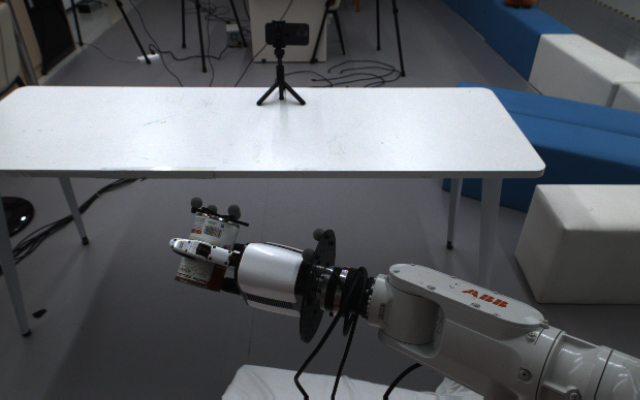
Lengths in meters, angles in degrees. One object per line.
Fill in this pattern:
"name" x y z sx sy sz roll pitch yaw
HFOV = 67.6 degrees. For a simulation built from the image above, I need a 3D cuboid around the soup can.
"soup can" -0.165 0.078 0.709 0.067 0.067 0.101 13 77 15
